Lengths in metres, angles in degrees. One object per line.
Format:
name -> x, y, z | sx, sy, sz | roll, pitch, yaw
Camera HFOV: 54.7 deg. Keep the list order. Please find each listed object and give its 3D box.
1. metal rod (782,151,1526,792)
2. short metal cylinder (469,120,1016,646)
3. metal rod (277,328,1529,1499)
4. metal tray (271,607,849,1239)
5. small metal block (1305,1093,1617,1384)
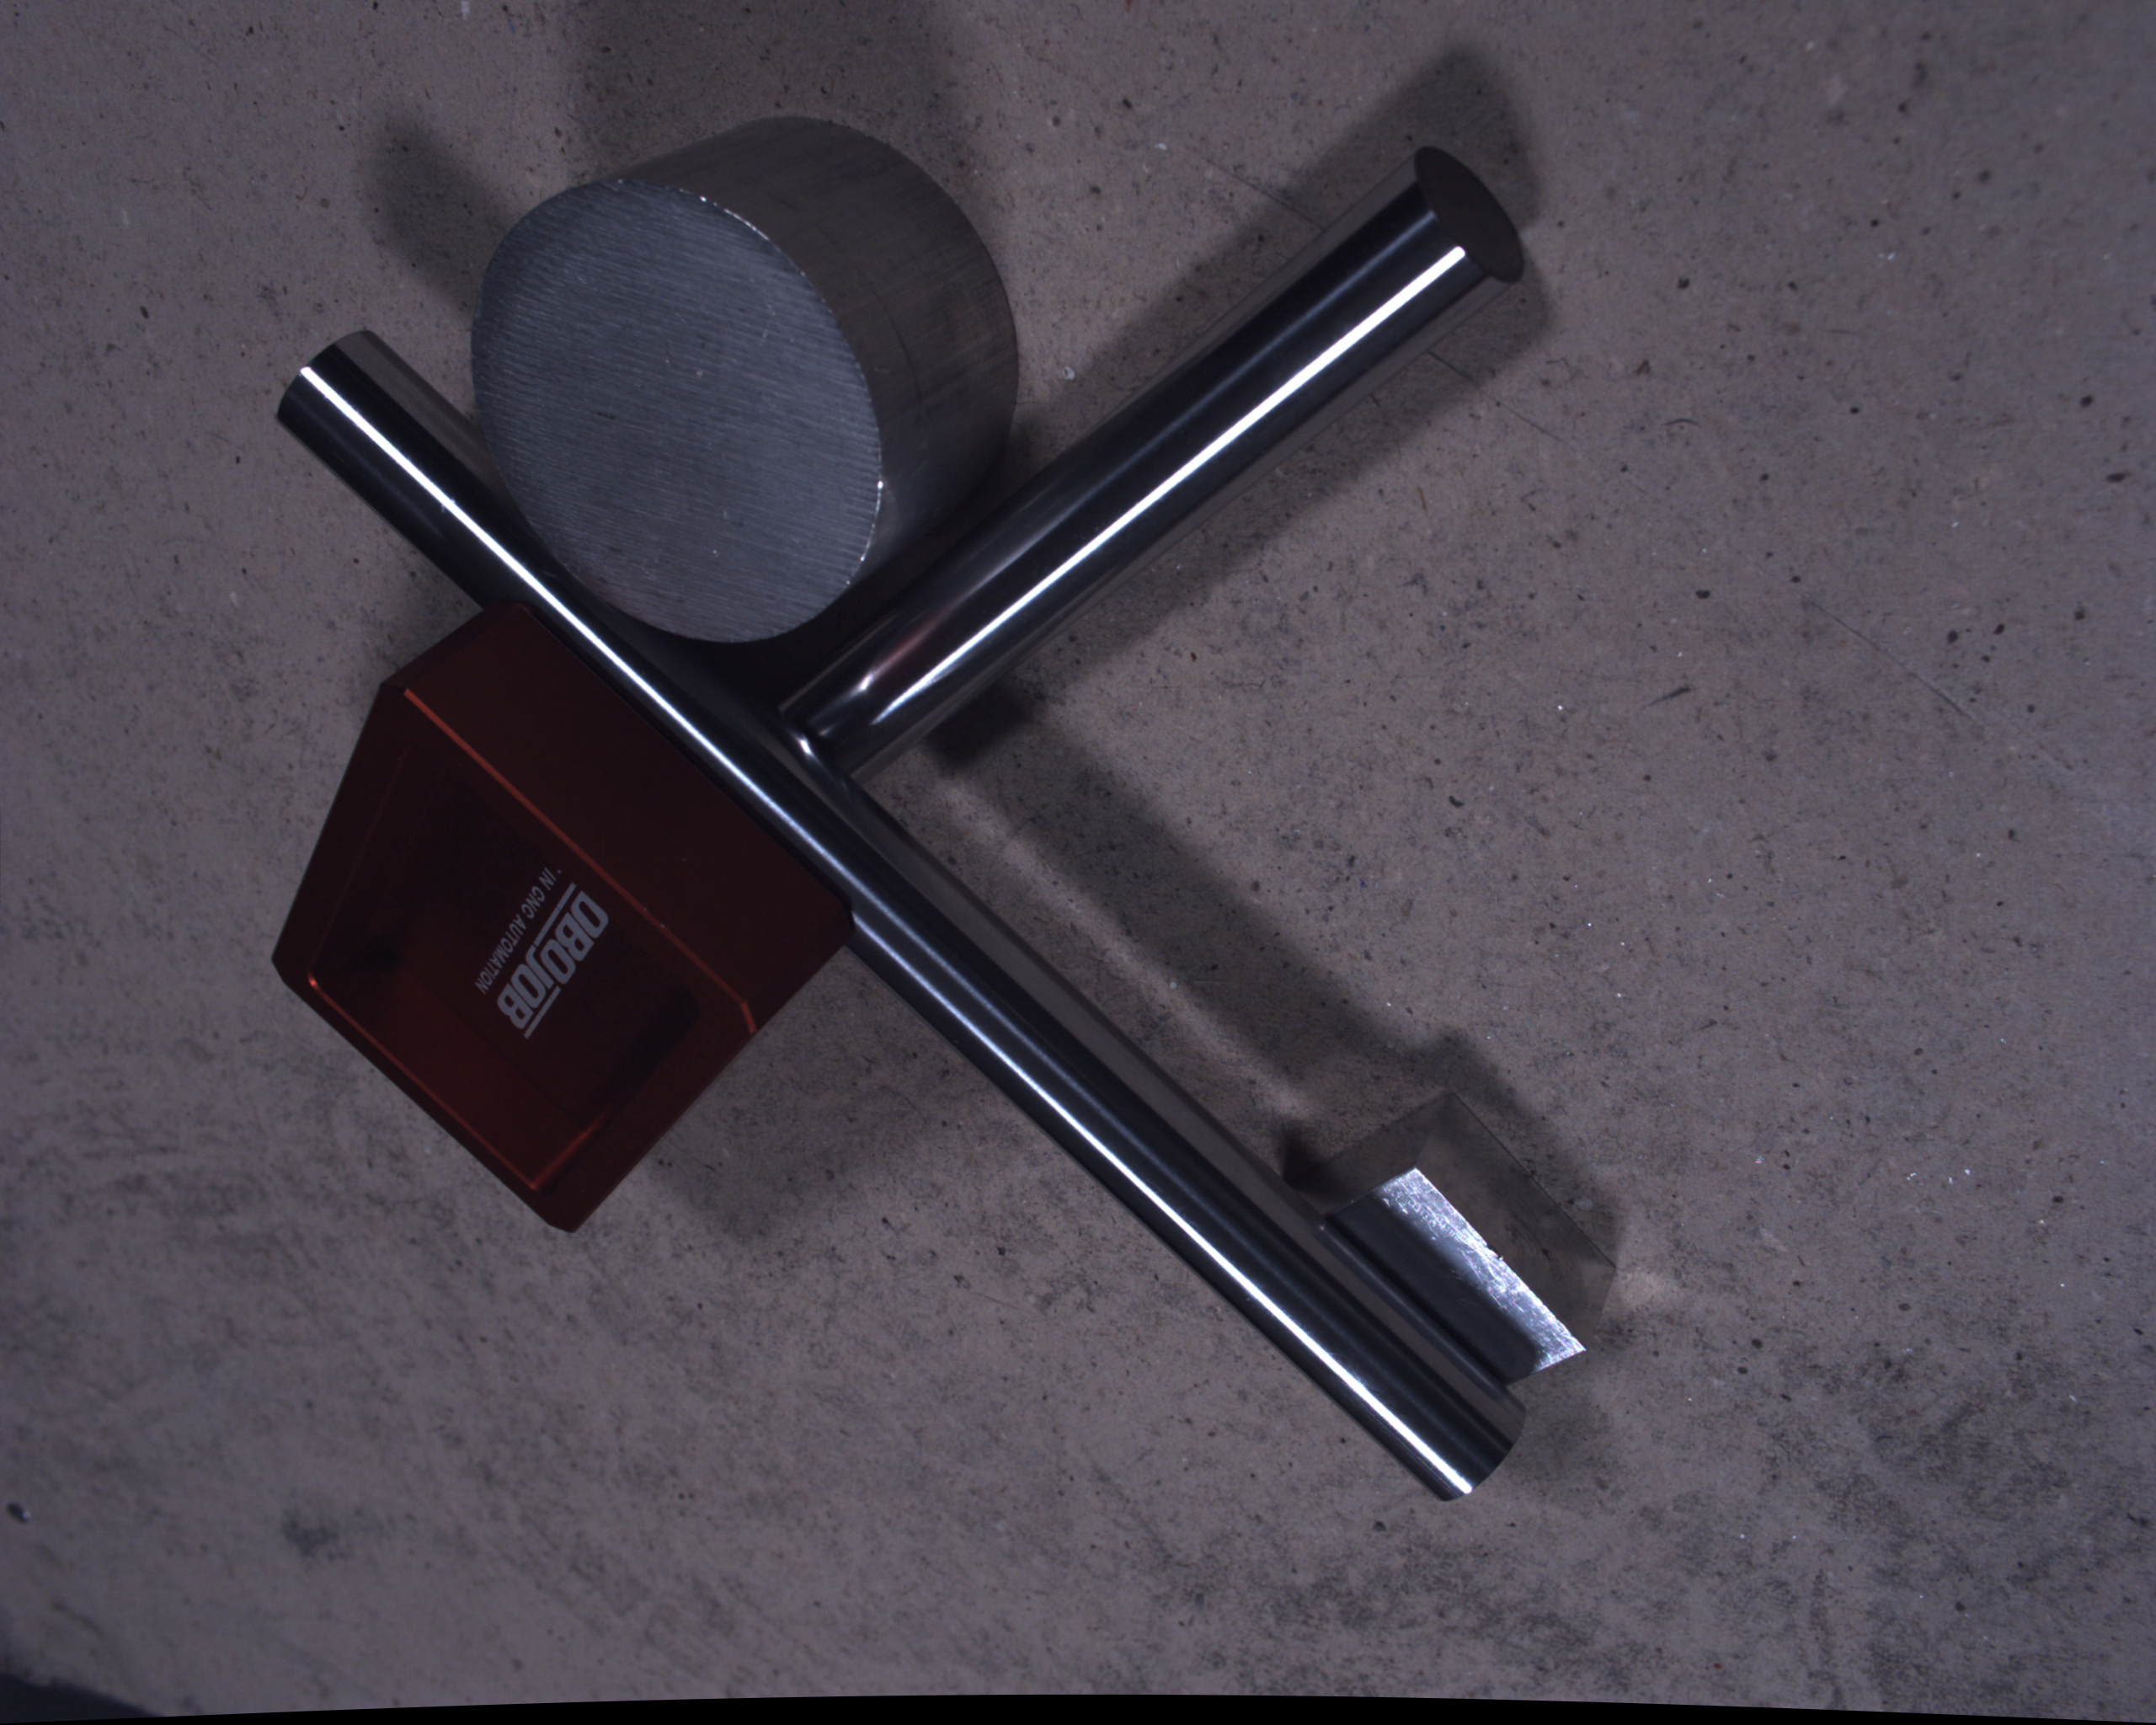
metal rod -> -0.039, -0.033, 0.407 | 0.299, 0.025, 0.025 | -33, 100, 38
short metal cylinder -> -0.058, -0.085, 0.368 | 0.080, 0.050, 0.079 | 13, 124, 20
metal rod -> -0.031, 0.011, 0.398 | 0.300, 0.025, 0.025 | 43, 129, -2
metal tray -> -0.110, 0.018, 0.422 | 0.090, 0.030, 0.129 | 43, 141, -2
small metal block -> 0.070, 0.082, 0.420 | 0.050, 0.025, 0.050 | 47, 129, -6
